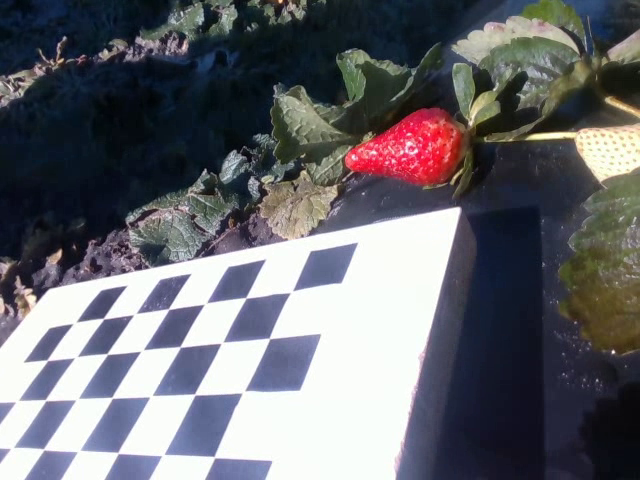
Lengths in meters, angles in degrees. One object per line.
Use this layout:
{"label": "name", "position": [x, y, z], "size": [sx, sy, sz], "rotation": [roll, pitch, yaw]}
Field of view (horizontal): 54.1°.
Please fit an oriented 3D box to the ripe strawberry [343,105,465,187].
{"label": "ripe strawberry", "position": [0.041, -0.044, 0.302], "size": [0.068, 0.040, 0.048], "rotation": [-17, 32, 15]}
